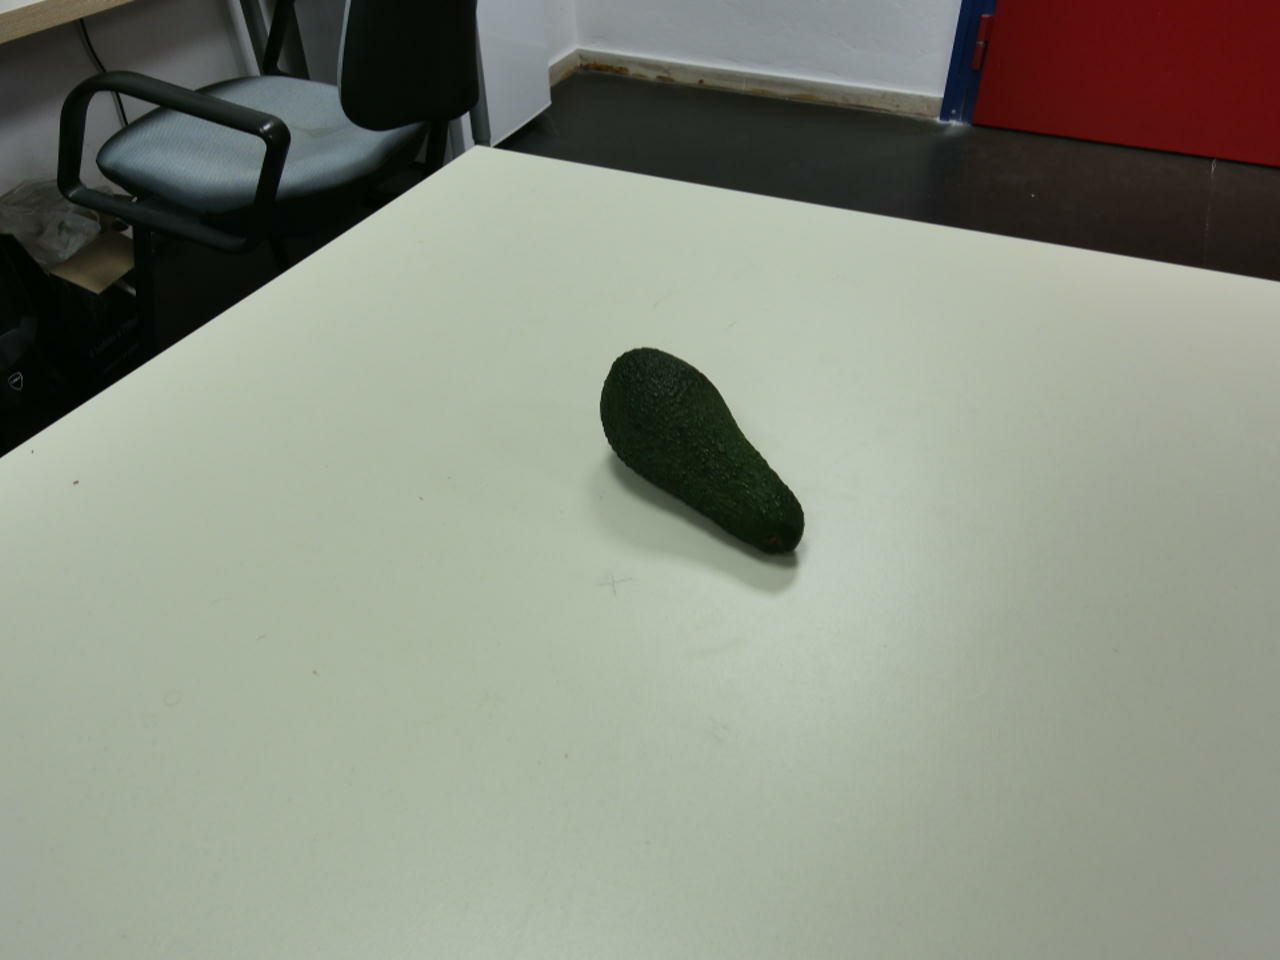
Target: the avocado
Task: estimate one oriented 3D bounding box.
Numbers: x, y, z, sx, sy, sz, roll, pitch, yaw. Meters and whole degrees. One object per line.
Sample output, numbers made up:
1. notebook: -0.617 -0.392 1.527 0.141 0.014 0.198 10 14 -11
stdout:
1. avocado: 0.035 -0.022 0.517 0.141 0.067 0.063 27 46 31
